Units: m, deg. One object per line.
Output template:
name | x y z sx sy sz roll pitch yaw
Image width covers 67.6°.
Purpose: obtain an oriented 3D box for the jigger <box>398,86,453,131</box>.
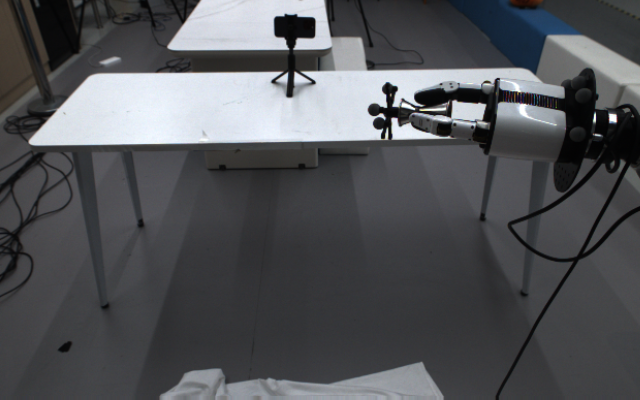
jigger | 0.154 -0.127 0.678 0.071 0.043 0.043 6 34 21
